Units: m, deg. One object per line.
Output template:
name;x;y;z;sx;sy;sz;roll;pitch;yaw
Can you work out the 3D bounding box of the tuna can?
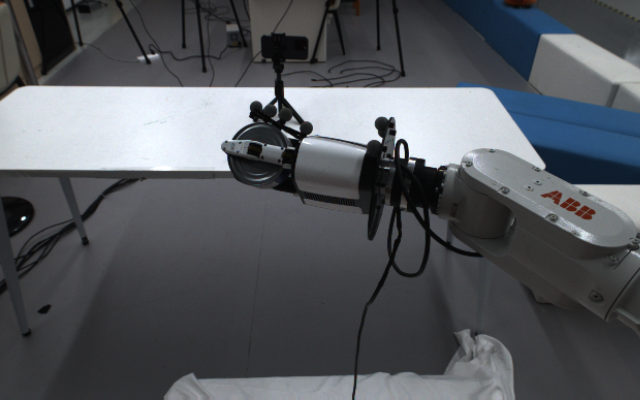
tuna can;-0.077;-0.059;0.651;0.085;0.085;0.034;13;-5;16
